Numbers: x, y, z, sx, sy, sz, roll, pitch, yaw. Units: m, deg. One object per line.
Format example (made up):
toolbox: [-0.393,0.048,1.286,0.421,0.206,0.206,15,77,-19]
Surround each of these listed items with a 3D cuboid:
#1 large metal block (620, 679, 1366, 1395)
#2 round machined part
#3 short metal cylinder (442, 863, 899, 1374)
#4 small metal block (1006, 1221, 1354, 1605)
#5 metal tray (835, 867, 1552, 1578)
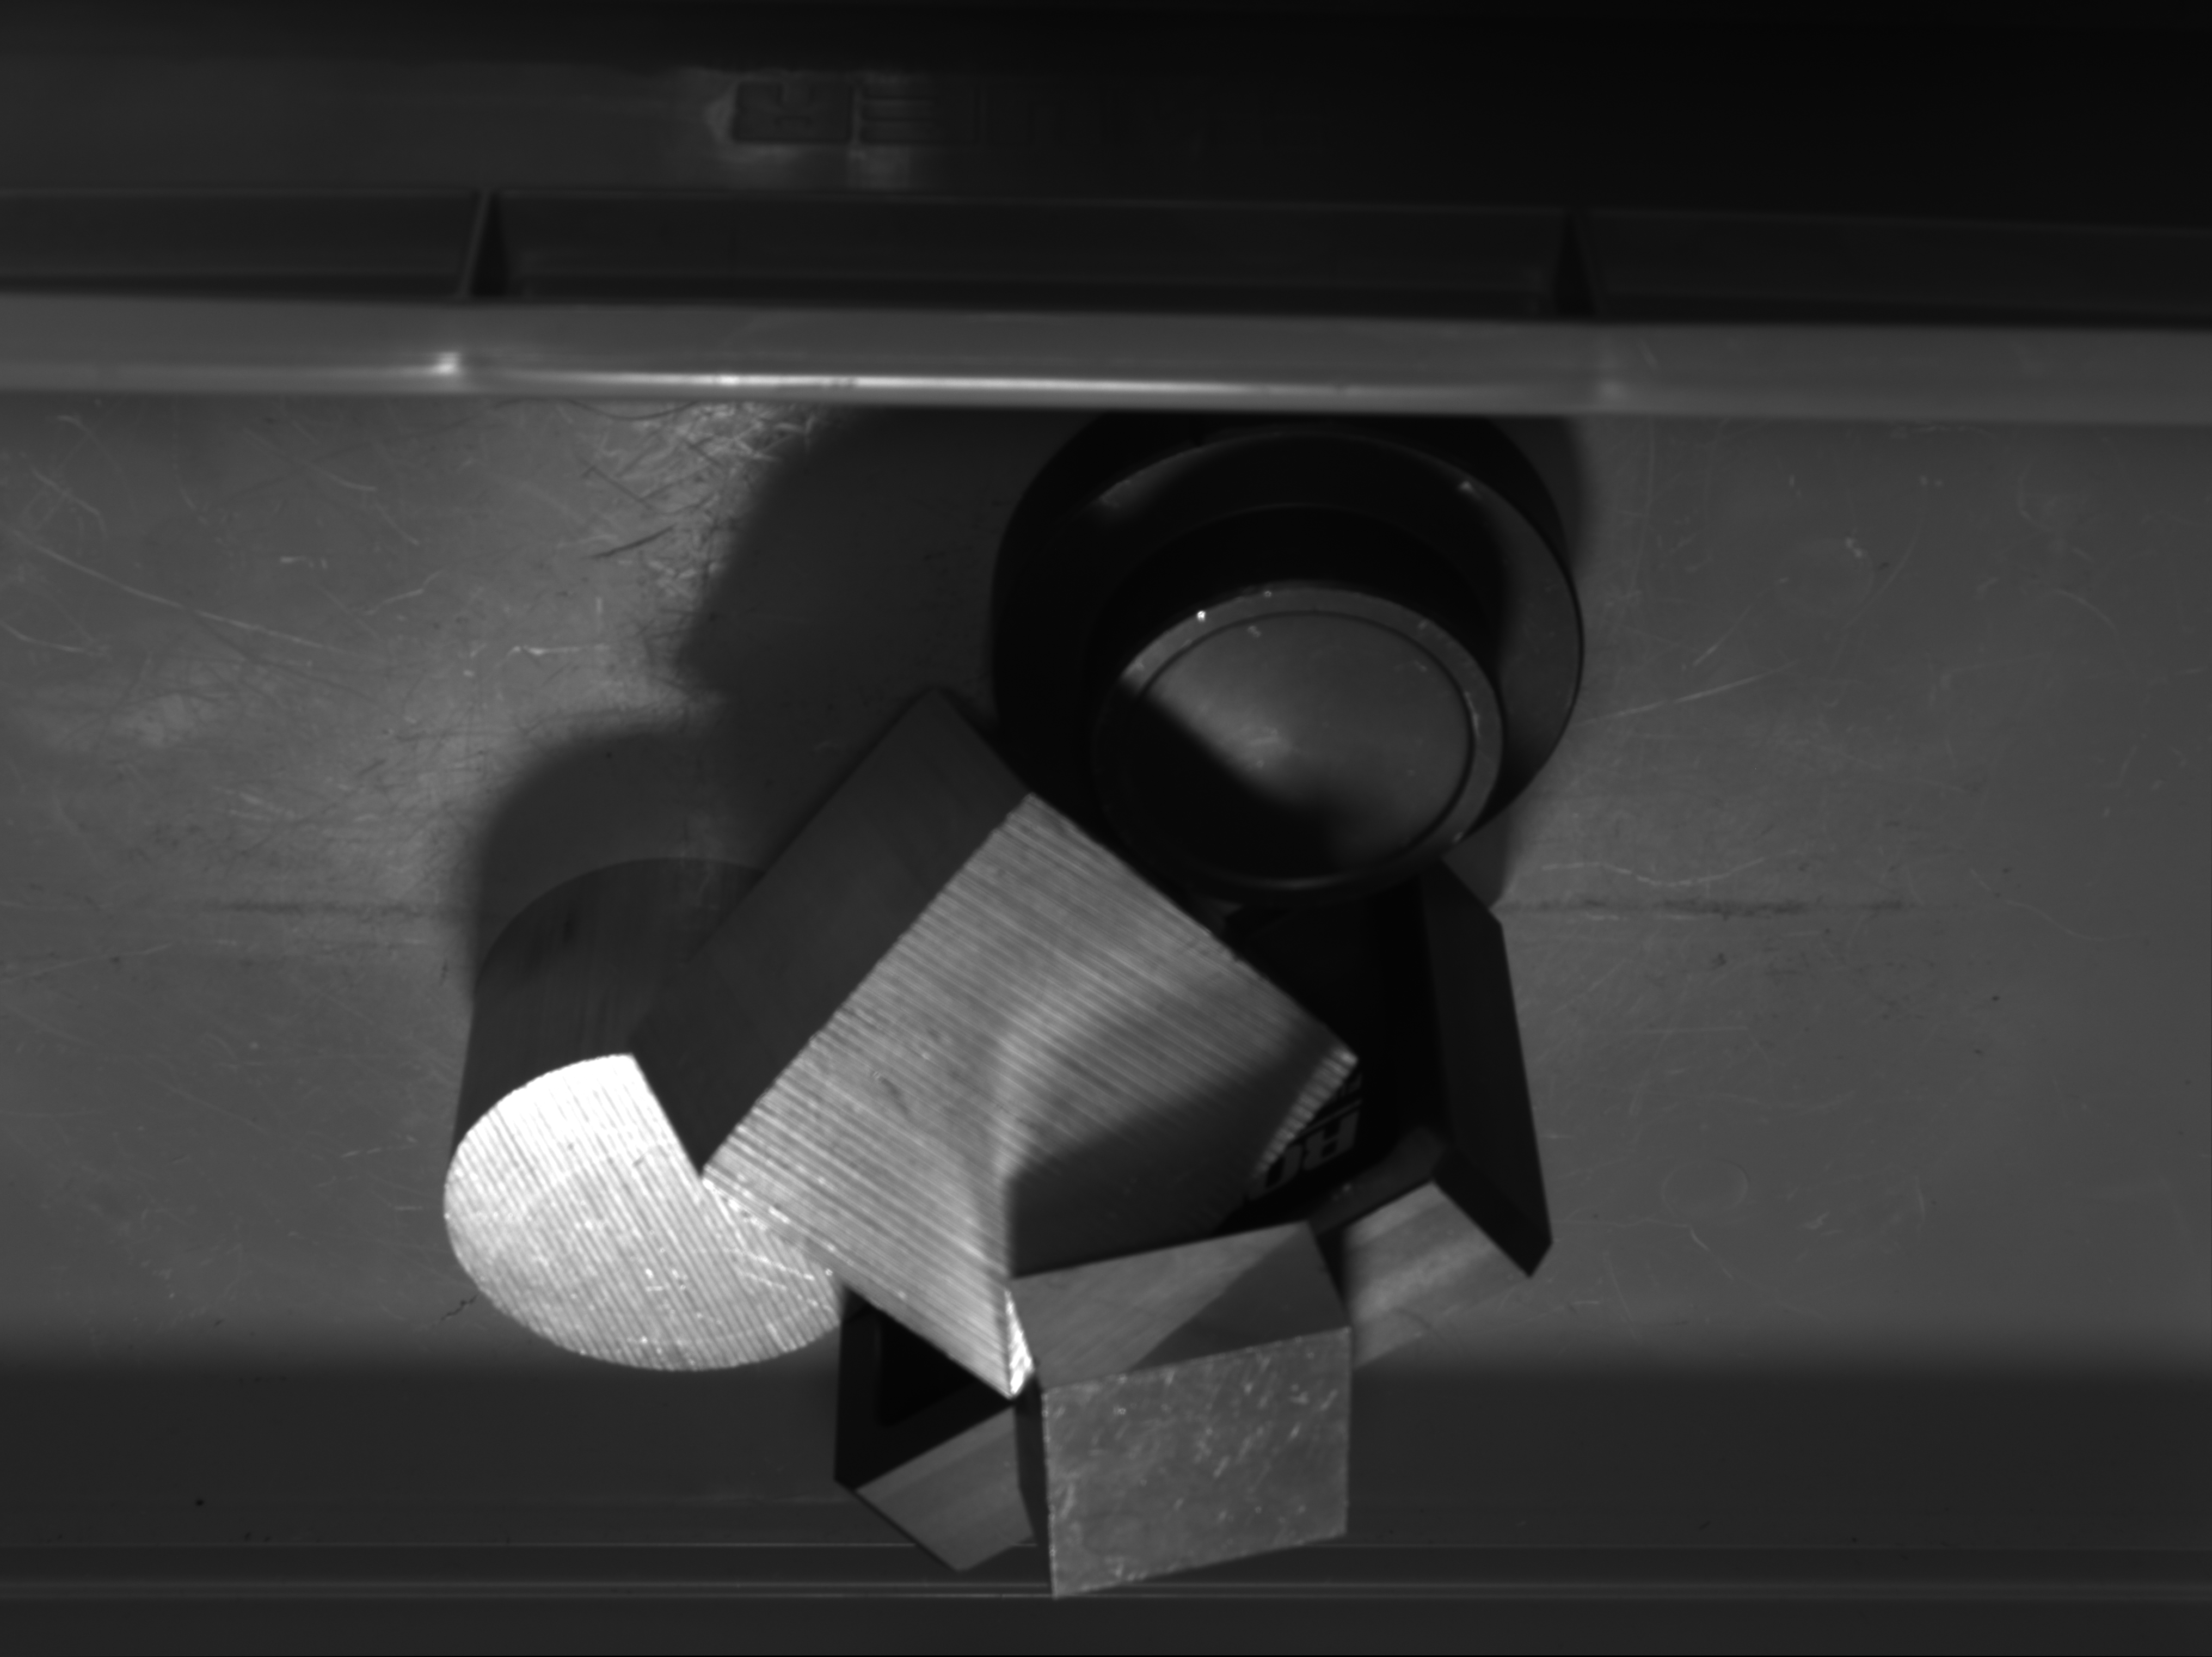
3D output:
large metal block: [-0.019,0.037,0.604,0.080,0.050,0.080,39,94,-29]
round machined part: [0.030,-0.025,0.605,0.098,0.042,0.098,-1,130,-1]
short metal cylinder: [-0.077,0.053,0.662,0.080,0.050,0.080,-1,130,-1]
small metal block: [0.012,0.095,0.592,0.050,0.025,0.050,-10,130,-10]
metal tray: [0.013,0.066,0.649,0.130,0.090,0.030,-31,123,22]
